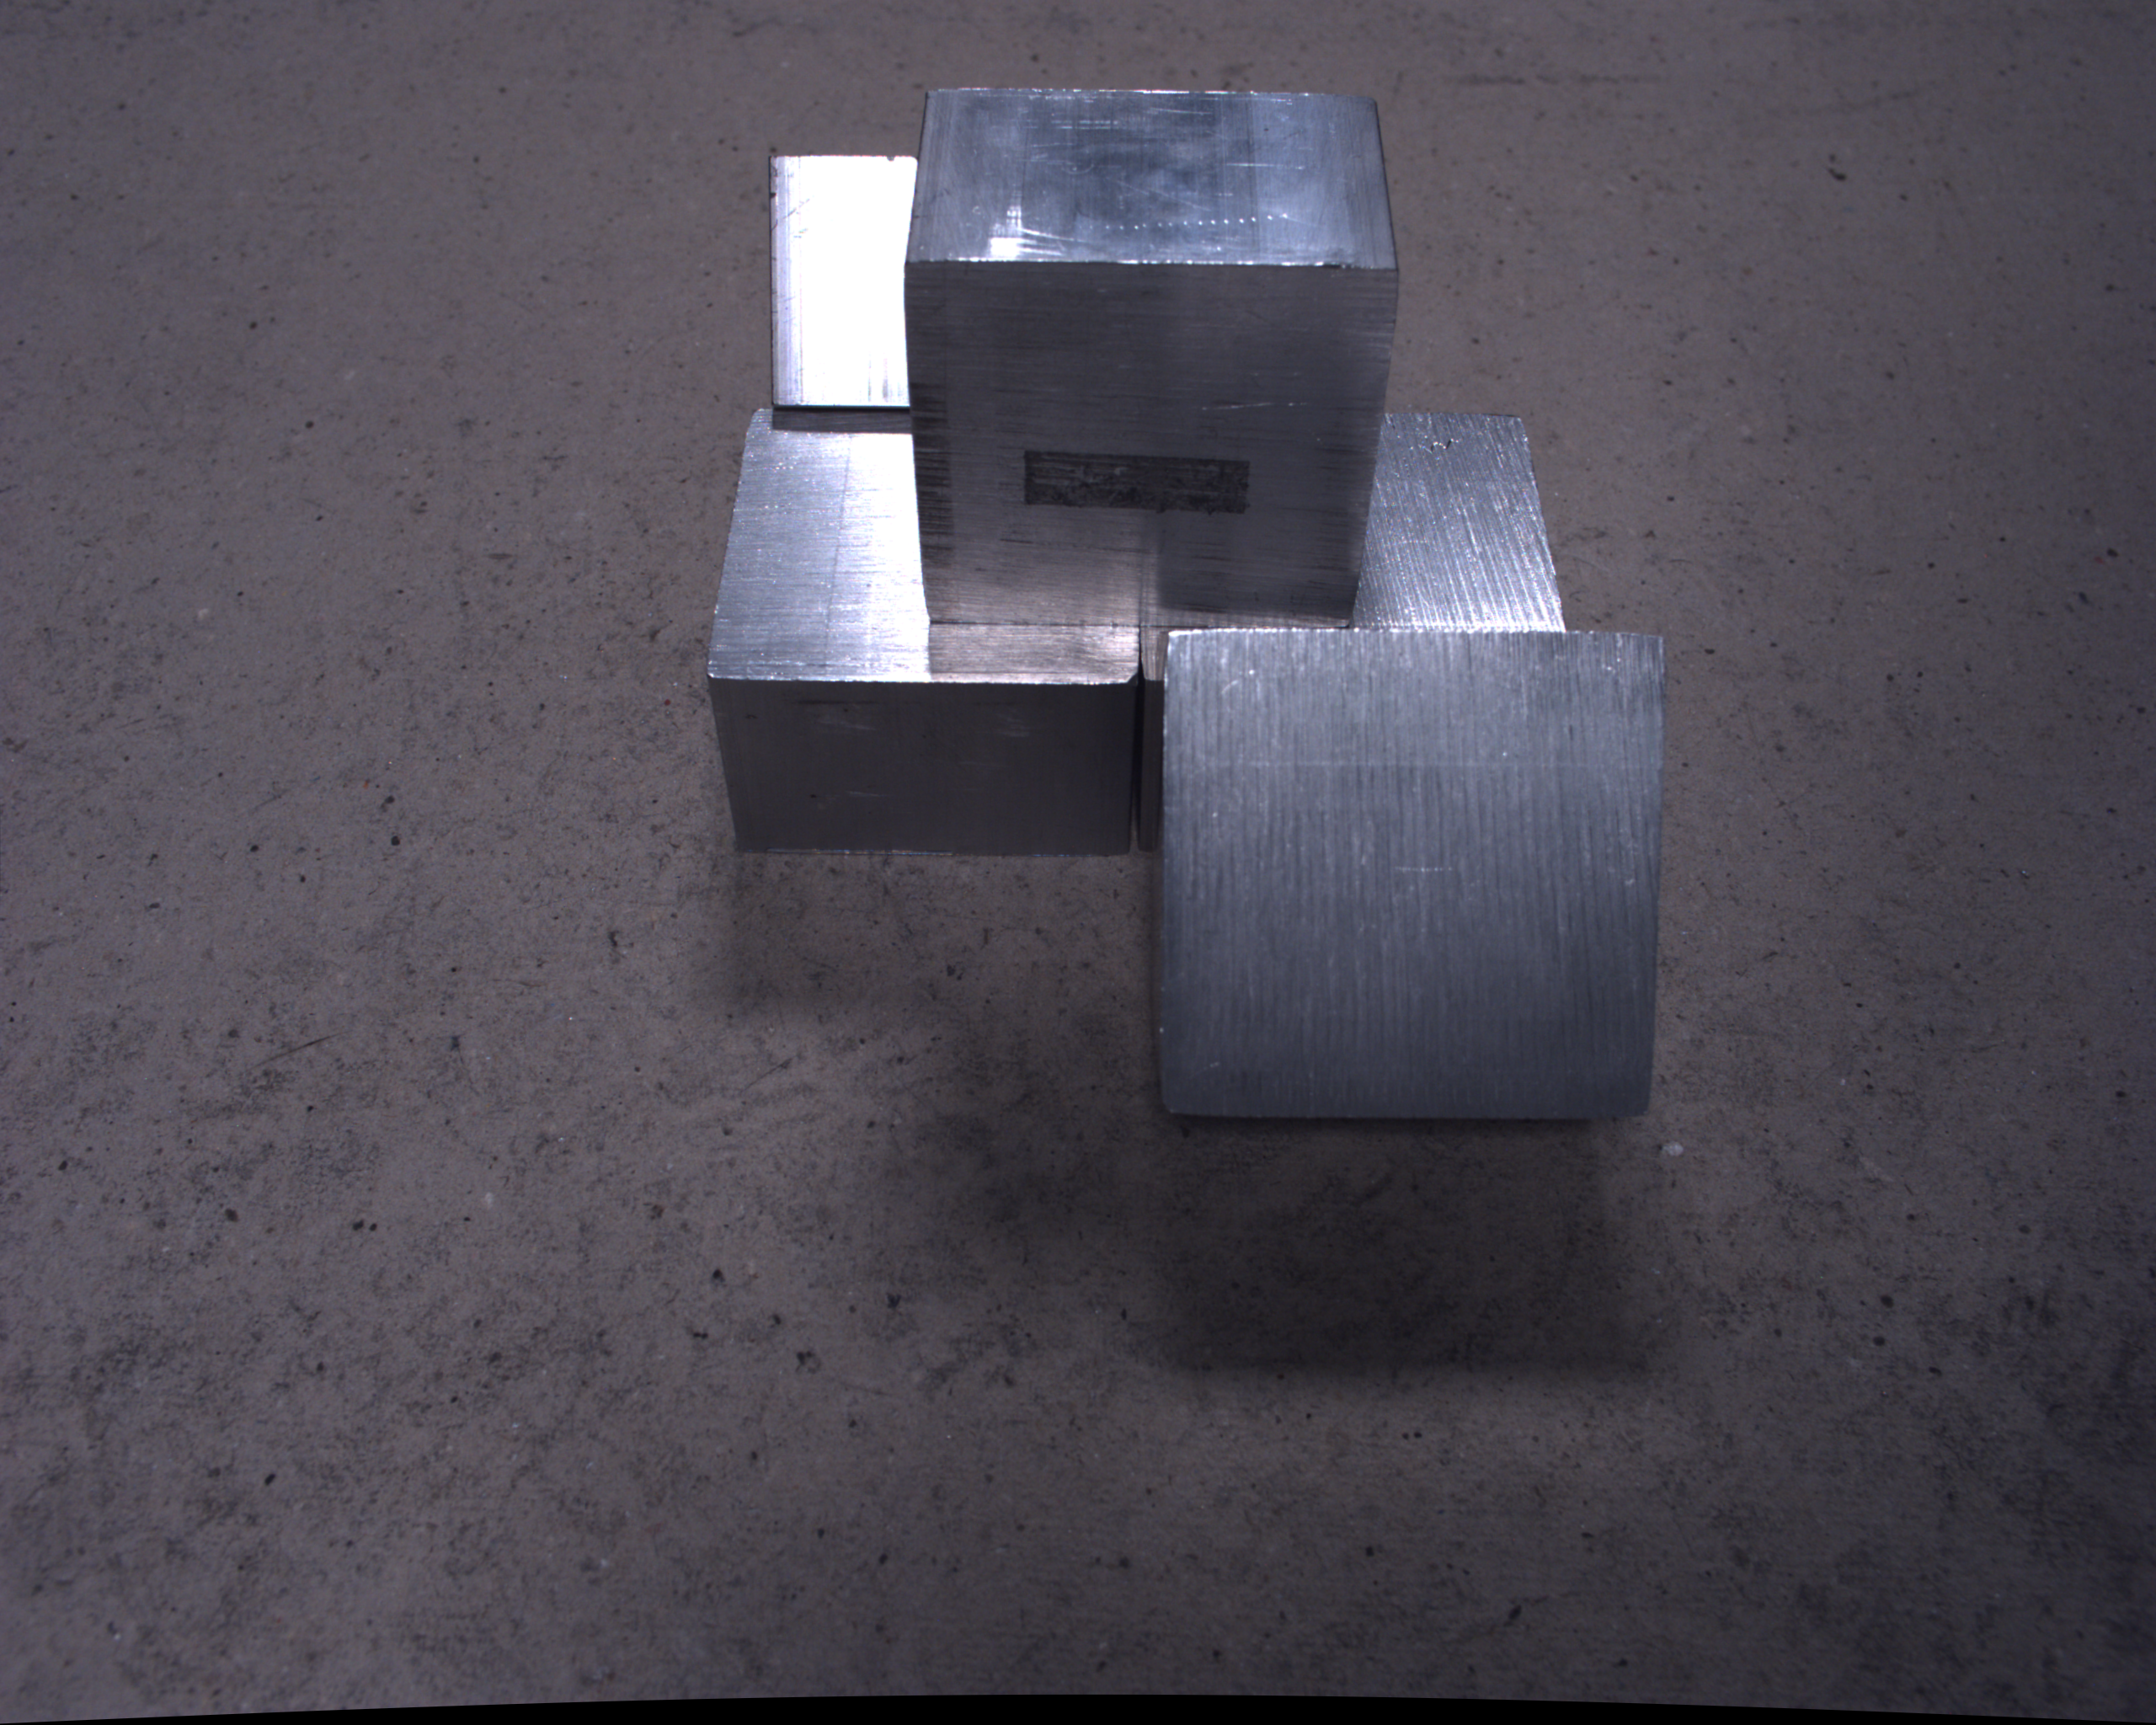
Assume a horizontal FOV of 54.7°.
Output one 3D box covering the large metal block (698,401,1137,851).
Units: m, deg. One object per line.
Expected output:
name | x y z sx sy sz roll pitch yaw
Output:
large metal block | -0.029 -0.049 0.427 0.081 0.050 0.080 1 50 0

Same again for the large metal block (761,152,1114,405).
large metal block | -0.024 -0.124 0.465 0.081 0.050 0.080 0 6 0

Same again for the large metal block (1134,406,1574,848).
large metal block | 0.052 -0.049 0.428 0.081 0.050 0.080 1 50 0

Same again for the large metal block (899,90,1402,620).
large metal block | 0.012 -0.090 0.381 0.081 0.080 0.050 1 50 0

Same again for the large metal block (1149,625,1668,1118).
large metal block | 0.054 -0.001 0.362 0.081 0.079 0.050 1 6 0
